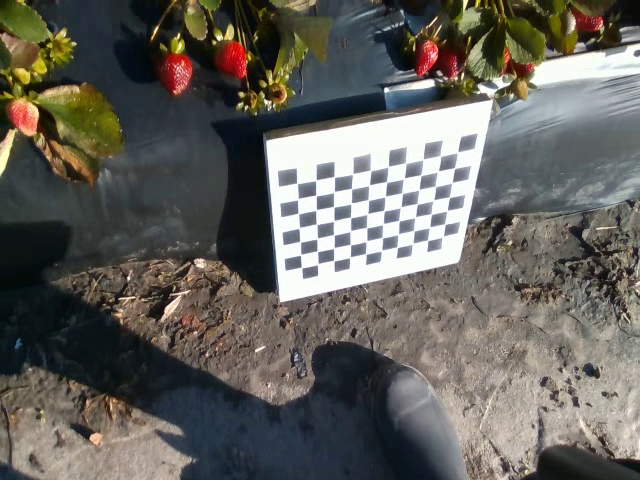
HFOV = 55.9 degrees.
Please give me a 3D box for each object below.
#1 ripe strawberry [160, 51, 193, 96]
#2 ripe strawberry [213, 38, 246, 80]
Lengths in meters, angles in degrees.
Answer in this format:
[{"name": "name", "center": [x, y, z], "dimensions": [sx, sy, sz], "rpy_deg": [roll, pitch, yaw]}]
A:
[{"name": "ripe strawberry", "center": [-0.168, -0.185, 0.679], "dimensions": [0.051, 0.050, 0.044], "rpy_deg": [2, -27, -25]}, {"name": "ripe strawberry", "center": [-0.100, -0.204, 0.695], "dimensions": [0.042, 0.049, 0.039], "rpy_deg": [-42, -21, 20]}]
